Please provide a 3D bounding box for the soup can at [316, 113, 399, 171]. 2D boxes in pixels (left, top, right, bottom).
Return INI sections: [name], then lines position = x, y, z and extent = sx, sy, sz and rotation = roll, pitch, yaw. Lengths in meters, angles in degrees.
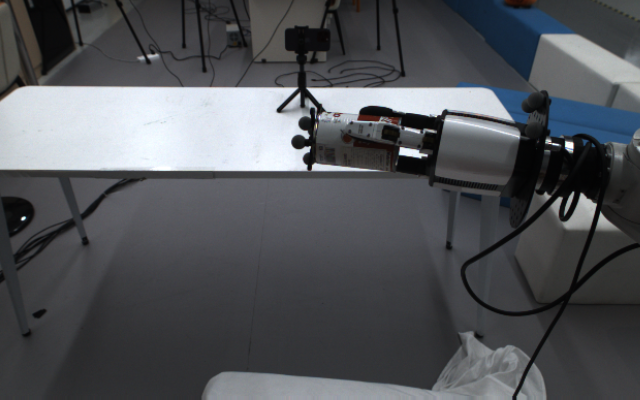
[soup can]
position = 0.049, -0.074, 0.603
extent = 0.101, 0.067, 0.067
rotation = 6, 35, 11
